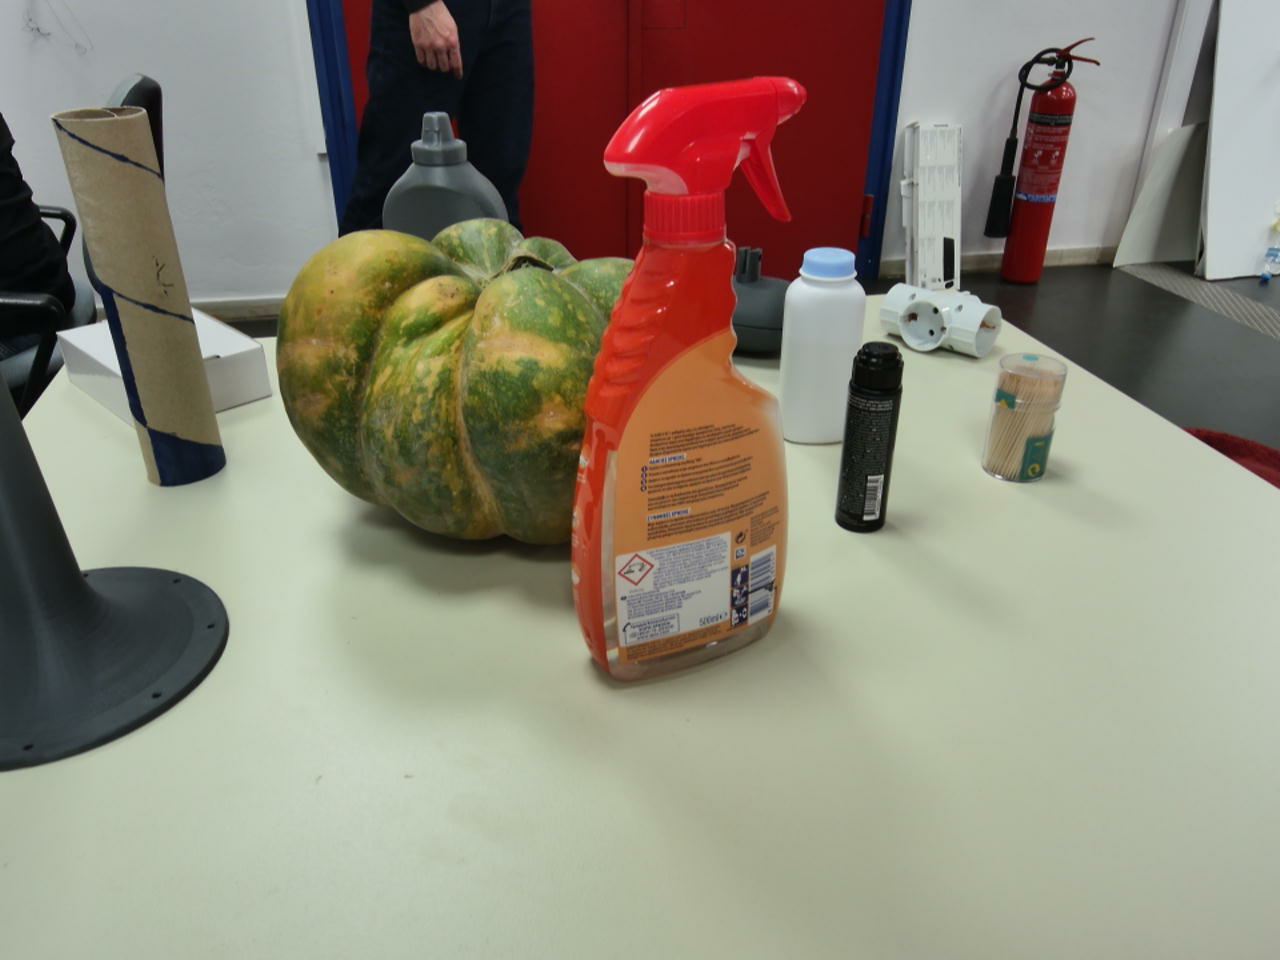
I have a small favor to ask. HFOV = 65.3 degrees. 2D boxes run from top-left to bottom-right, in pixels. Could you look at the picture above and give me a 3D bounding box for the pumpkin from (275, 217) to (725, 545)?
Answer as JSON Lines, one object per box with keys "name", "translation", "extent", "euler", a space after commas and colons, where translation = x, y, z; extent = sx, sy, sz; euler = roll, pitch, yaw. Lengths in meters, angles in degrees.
{"name": "pumpkin", "translation": [-0.078, -0.067, 0.591], "extent": [0.270, 0.173, 0.237], "euler": [12, 29, 22]}
